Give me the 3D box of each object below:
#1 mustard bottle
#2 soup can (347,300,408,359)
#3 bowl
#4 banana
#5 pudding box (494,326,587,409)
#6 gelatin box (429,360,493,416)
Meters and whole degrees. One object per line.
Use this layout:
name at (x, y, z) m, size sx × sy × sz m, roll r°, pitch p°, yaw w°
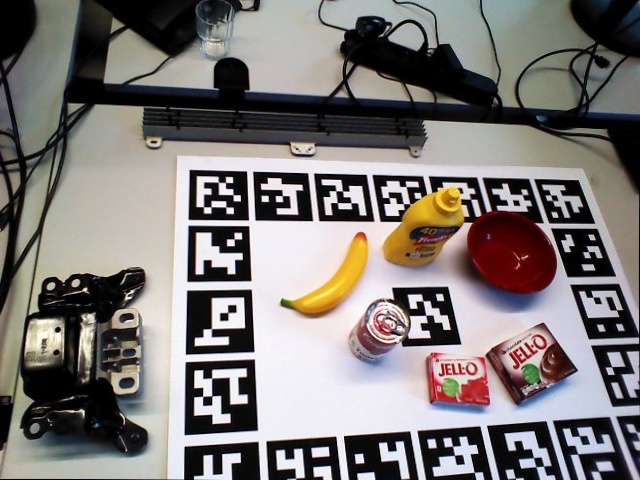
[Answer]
mustard bottle at (0.184, -0.027, 0.805) m, size 0.096 × 0.192 × 0.058 m, roll 2°, pitch 58°, yaw -11°
soup can at (0.083, 0.128, 0.756) m, size 0.068 × 0.102 × 0.067 m, roll 6°, pitch 59°, yaw -10°
bowl at (0.339, 0.032, 0.898) m, size 0.162 × 0.055 × 0.161 m, roll 4°, pitch 60°, yaw -7°
banana at (0.027, 0.048, 0.837) m, size 0.074 × 0.039 × 0.196 m, roll 33°, pitch 60°, yaw 20°
pudding box at (0.344, 0.199, 0.812) m, size 0.113 × 0.039 × 0.090 m, roll -21°, pitch 73°, yaw -20°
gelatin box at (0.211, 0.223, 0.779) m, size 0.089 × 0.030 × 0.073 m, roll 7°, pitch 64°, yaw -6°
